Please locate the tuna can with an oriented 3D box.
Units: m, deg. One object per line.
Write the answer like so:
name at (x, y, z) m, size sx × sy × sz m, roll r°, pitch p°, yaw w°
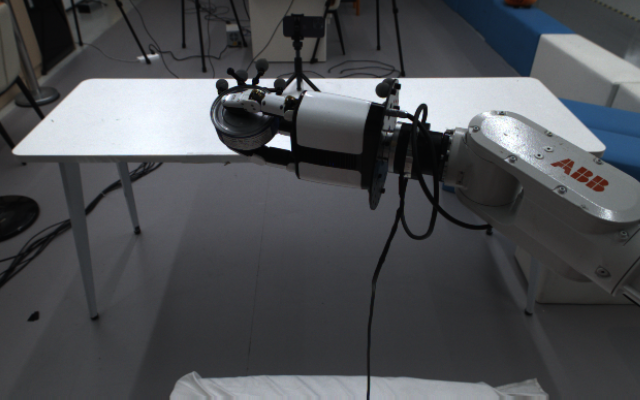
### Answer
tuna can at (-0.094, -0.107, 0.629) m, size 0.085 × 0.034 × 0.085 m, roll -2°, pitch 58°, yaw 3°
